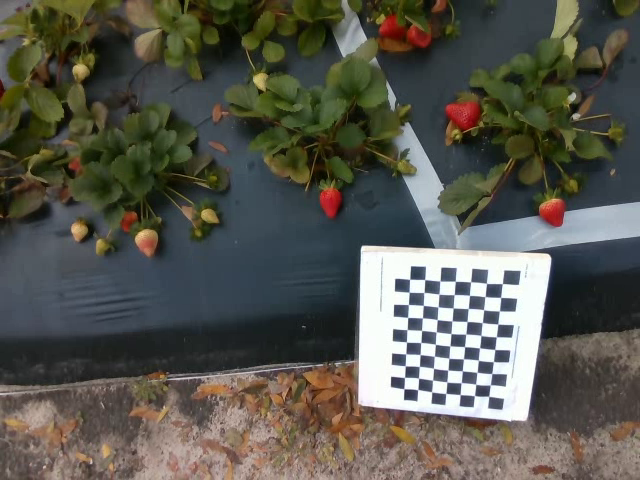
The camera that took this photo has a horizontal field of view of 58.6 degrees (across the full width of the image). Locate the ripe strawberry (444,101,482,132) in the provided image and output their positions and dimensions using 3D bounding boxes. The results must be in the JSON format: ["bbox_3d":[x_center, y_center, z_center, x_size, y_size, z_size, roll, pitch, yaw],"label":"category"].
[{"bbox_3d":[0.205,-0.183,0.816,0.062,0.043,0.043,24,28,7],"label":"ripe strawberry"}]

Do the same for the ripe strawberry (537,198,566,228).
[{"bbox_3d":[0.325,-0.039,0.791,0.039,0.047,0.041,-30,6,27],"label":"ripe strawberry"}]

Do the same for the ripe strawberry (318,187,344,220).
[{"bbox_3d":[0.018,-0.056,0.797,0.036,0.046,0.040,-8,-27,22],"label":"ripe strawberry"}]
